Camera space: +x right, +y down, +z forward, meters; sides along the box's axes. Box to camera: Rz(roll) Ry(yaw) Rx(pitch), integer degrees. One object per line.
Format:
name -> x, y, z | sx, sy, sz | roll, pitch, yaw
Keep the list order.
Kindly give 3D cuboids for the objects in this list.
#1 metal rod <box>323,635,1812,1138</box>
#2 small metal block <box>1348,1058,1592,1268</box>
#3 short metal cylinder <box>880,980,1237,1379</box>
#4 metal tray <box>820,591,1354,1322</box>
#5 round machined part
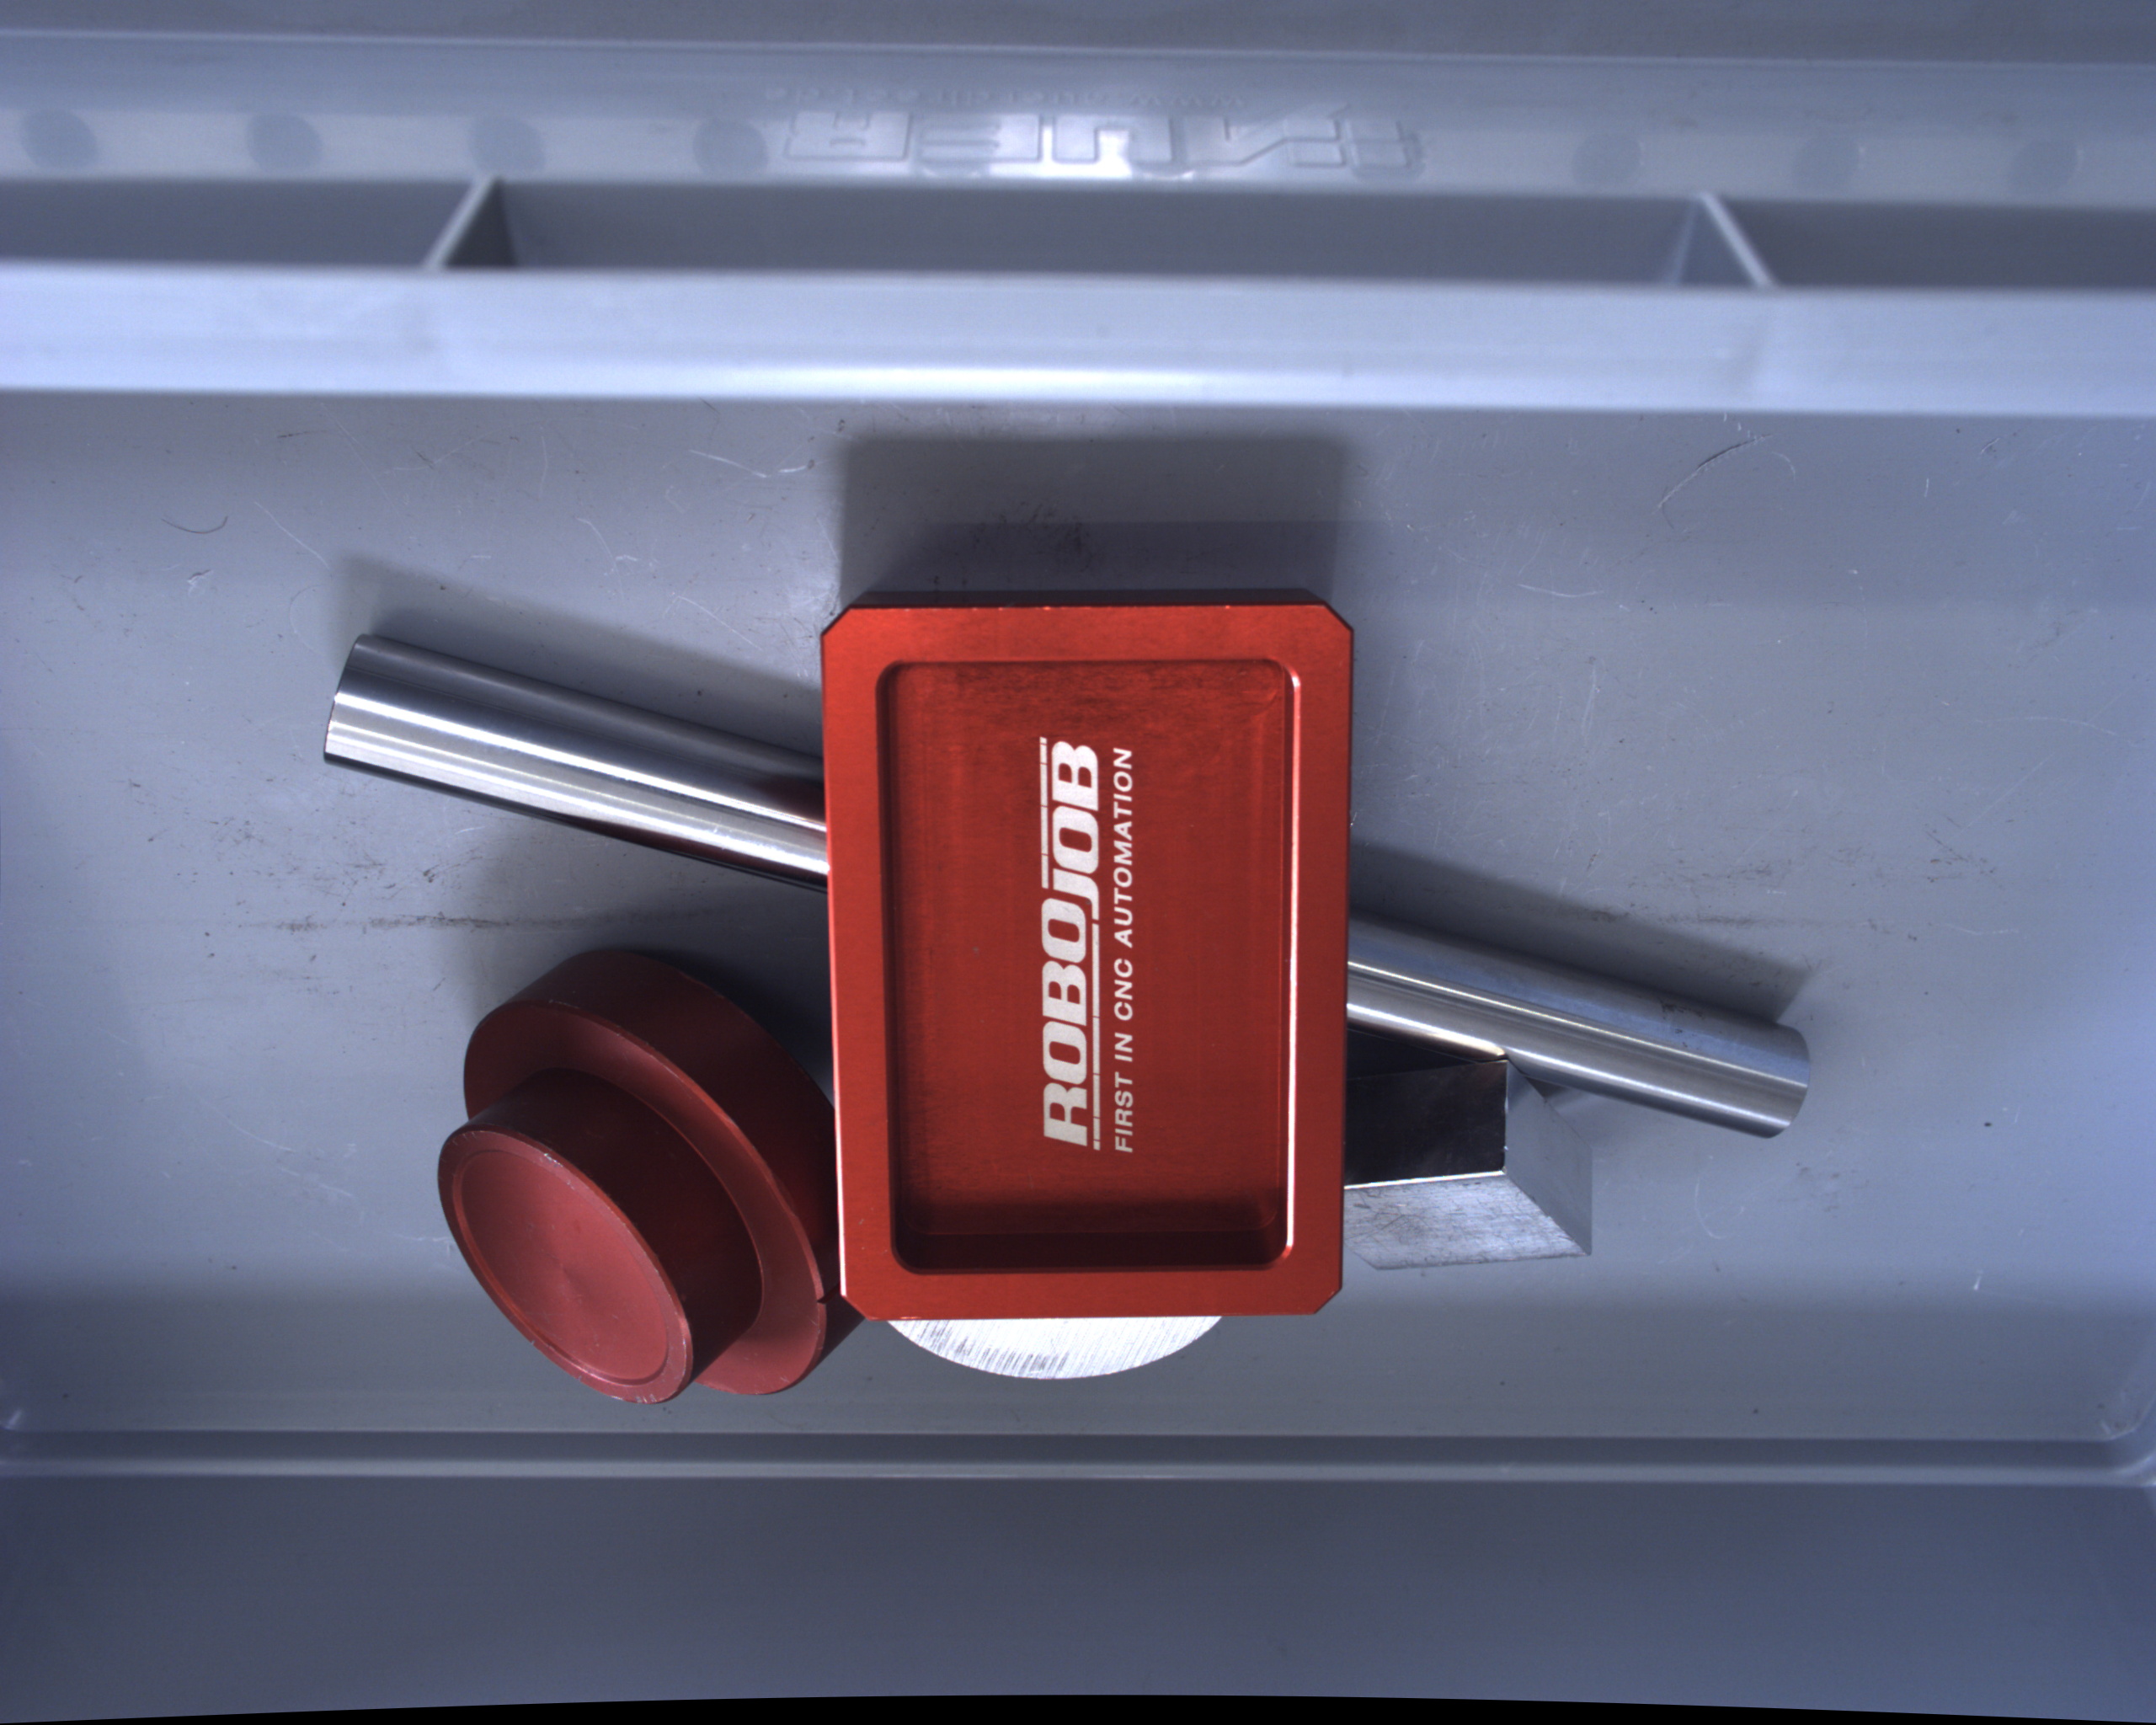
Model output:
metal rod -> 0.008, 0.009, 0.414 | 0.302, 0.025, 0.025 | 15, 129, -13
small metal block -> 0.078, 0.066, 0.449 | 0.050, 0.025, 0.050 | -11, 148, 30
short metal cylinder -> -0.005, 0.066, 0.446 | 0.081, 0.050, 0.079 | 0, 130, 0
metal tray -> 0.002, 0.017, 0.379 | 0.091, 0.030, 0.129 | -1, 101, -1
round machined part -> -0.090, 0.070, 0.424 | 0.098, 0.042, 0.097 | 20, 130, 26
